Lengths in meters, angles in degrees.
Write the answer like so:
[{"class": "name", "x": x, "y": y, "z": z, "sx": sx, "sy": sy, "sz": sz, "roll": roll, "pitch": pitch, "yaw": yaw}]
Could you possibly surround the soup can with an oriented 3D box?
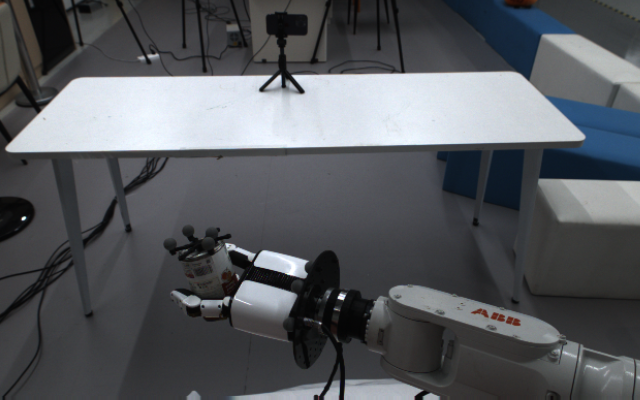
[{"class": "soup can", "x": -0.153, "y": 0.112, "z": 0.688, "sx": 0.067, "sy": 0.101, "sz": 0.067, "roll": -13, "pitch": 19, "yaw": 4}]
